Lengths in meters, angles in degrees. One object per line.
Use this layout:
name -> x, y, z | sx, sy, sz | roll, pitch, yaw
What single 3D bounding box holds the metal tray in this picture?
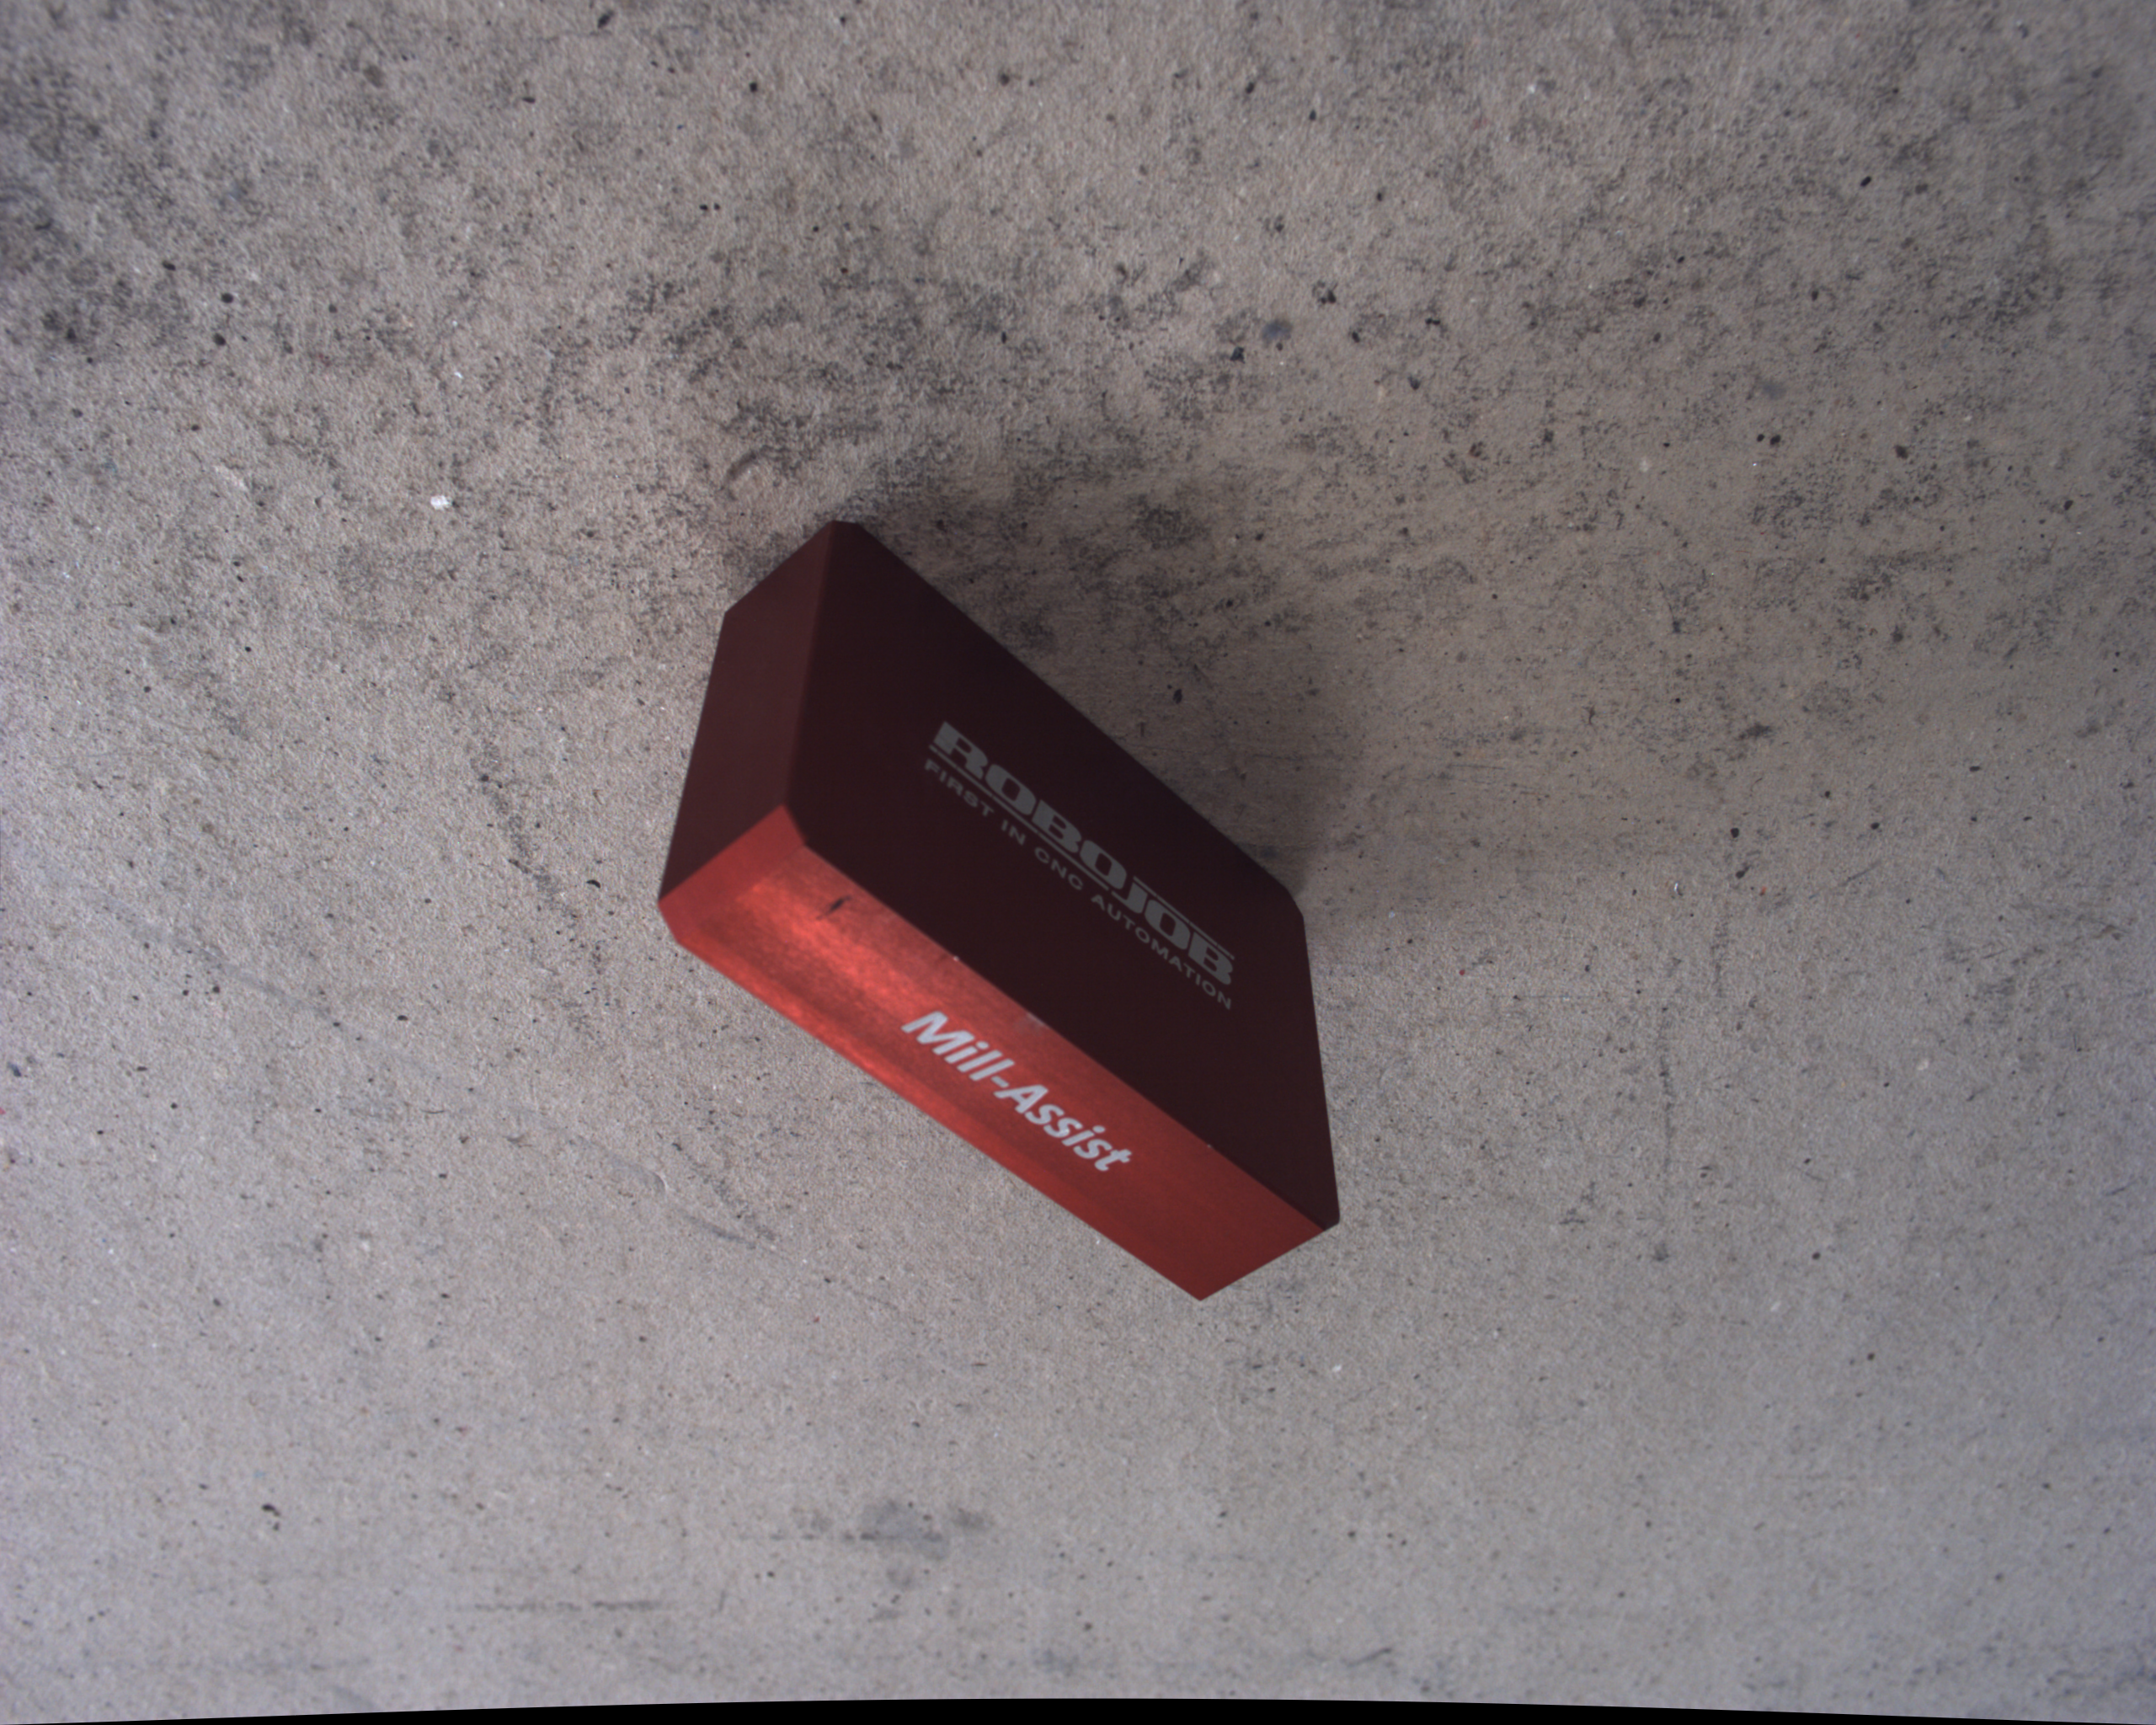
metal tray -> -0.009, 0.009, 0.373 | 0.030, 0.090, 0.130 | -36, 122, 26
